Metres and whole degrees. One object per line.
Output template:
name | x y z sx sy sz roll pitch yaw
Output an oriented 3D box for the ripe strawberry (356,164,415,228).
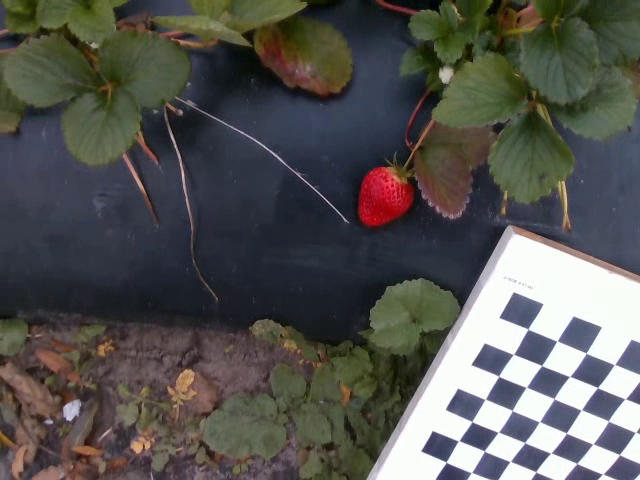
ripe strawberry | 0.028 -0.020 0.287 0.028 0.033 0.023 38 18 -2
